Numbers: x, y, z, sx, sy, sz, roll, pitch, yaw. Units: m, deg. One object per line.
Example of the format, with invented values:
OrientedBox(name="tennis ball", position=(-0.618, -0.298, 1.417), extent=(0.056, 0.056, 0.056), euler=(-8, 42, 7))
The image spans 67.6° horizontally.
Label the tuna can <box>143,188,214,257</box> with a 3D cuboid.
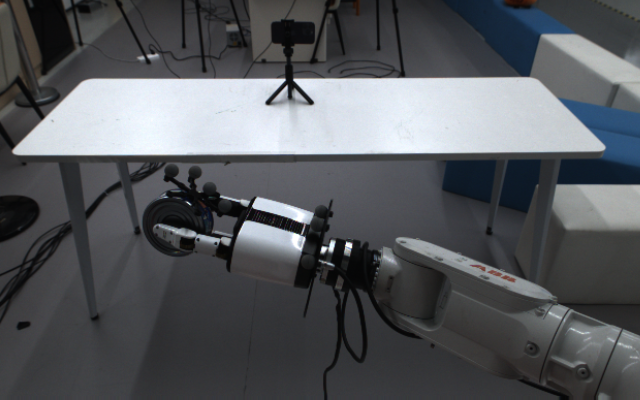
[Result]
OrientedBox(name="tuna can", position=(-0.184, 0.031, 0.632), extent=(0.085, 0.085, 0.034), euler=(6, 19, 6))
